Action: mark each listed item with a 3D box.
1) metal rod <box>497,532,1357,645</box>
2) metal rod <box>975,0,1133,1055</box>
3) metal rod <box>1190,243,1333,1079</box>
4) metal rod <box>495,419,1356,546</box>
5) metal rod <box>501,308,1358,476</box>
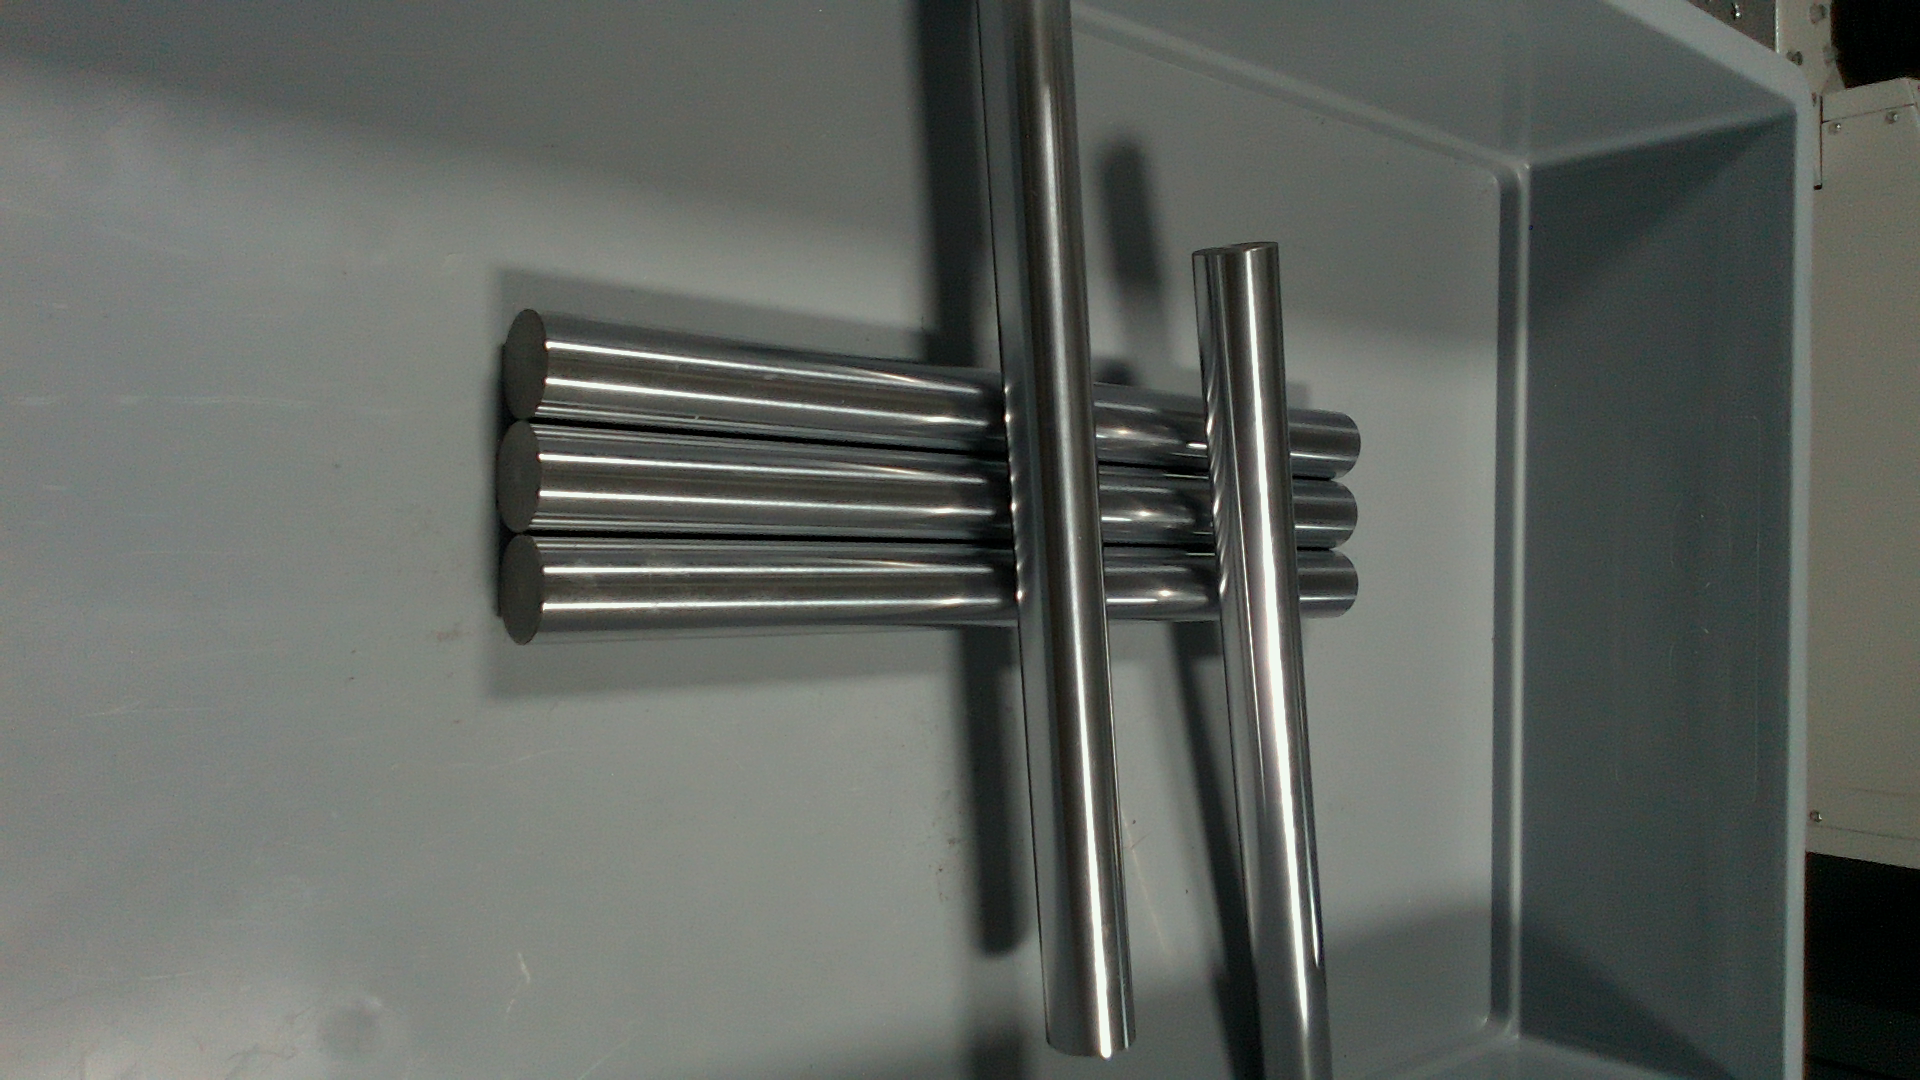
[{"bbox_3d":[0.018,0.013,0.402,0.301,0.025,0.025,1,89,-40],"label":"metal rod"},{"bbox_3d":[0.026,-0.011,0.377,0.025,0.025,0.300,-7,94,-40],"label":"metal rod"},{"bbox_3d":[0.100,0.057,0.445,0.025,0.025,0.300,-20,110,-38],"label":"metal rod"},{"bbox_3d":[0.017,-0.012,0.402,0.301,0.025,0.025,1,89,-40],"label":"metal rod"},{"bbox_3d":[0.018,-0.037,0.403,0.301,0.025,0.025,1,89,-40],"label":"metal rod"}]
